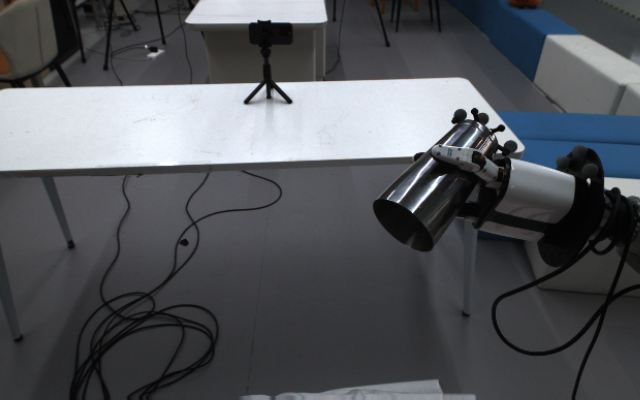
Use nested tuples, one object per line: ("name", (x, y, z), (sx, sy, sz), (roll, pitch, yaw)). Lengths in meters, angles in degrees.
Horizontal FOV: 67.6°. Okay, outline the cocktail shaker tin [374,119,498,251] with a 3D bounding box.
("cocktail shaker tin", (0.157, -0.031, 0.626), (0.093, 0.093, 0.170), (32, 66, 35))
